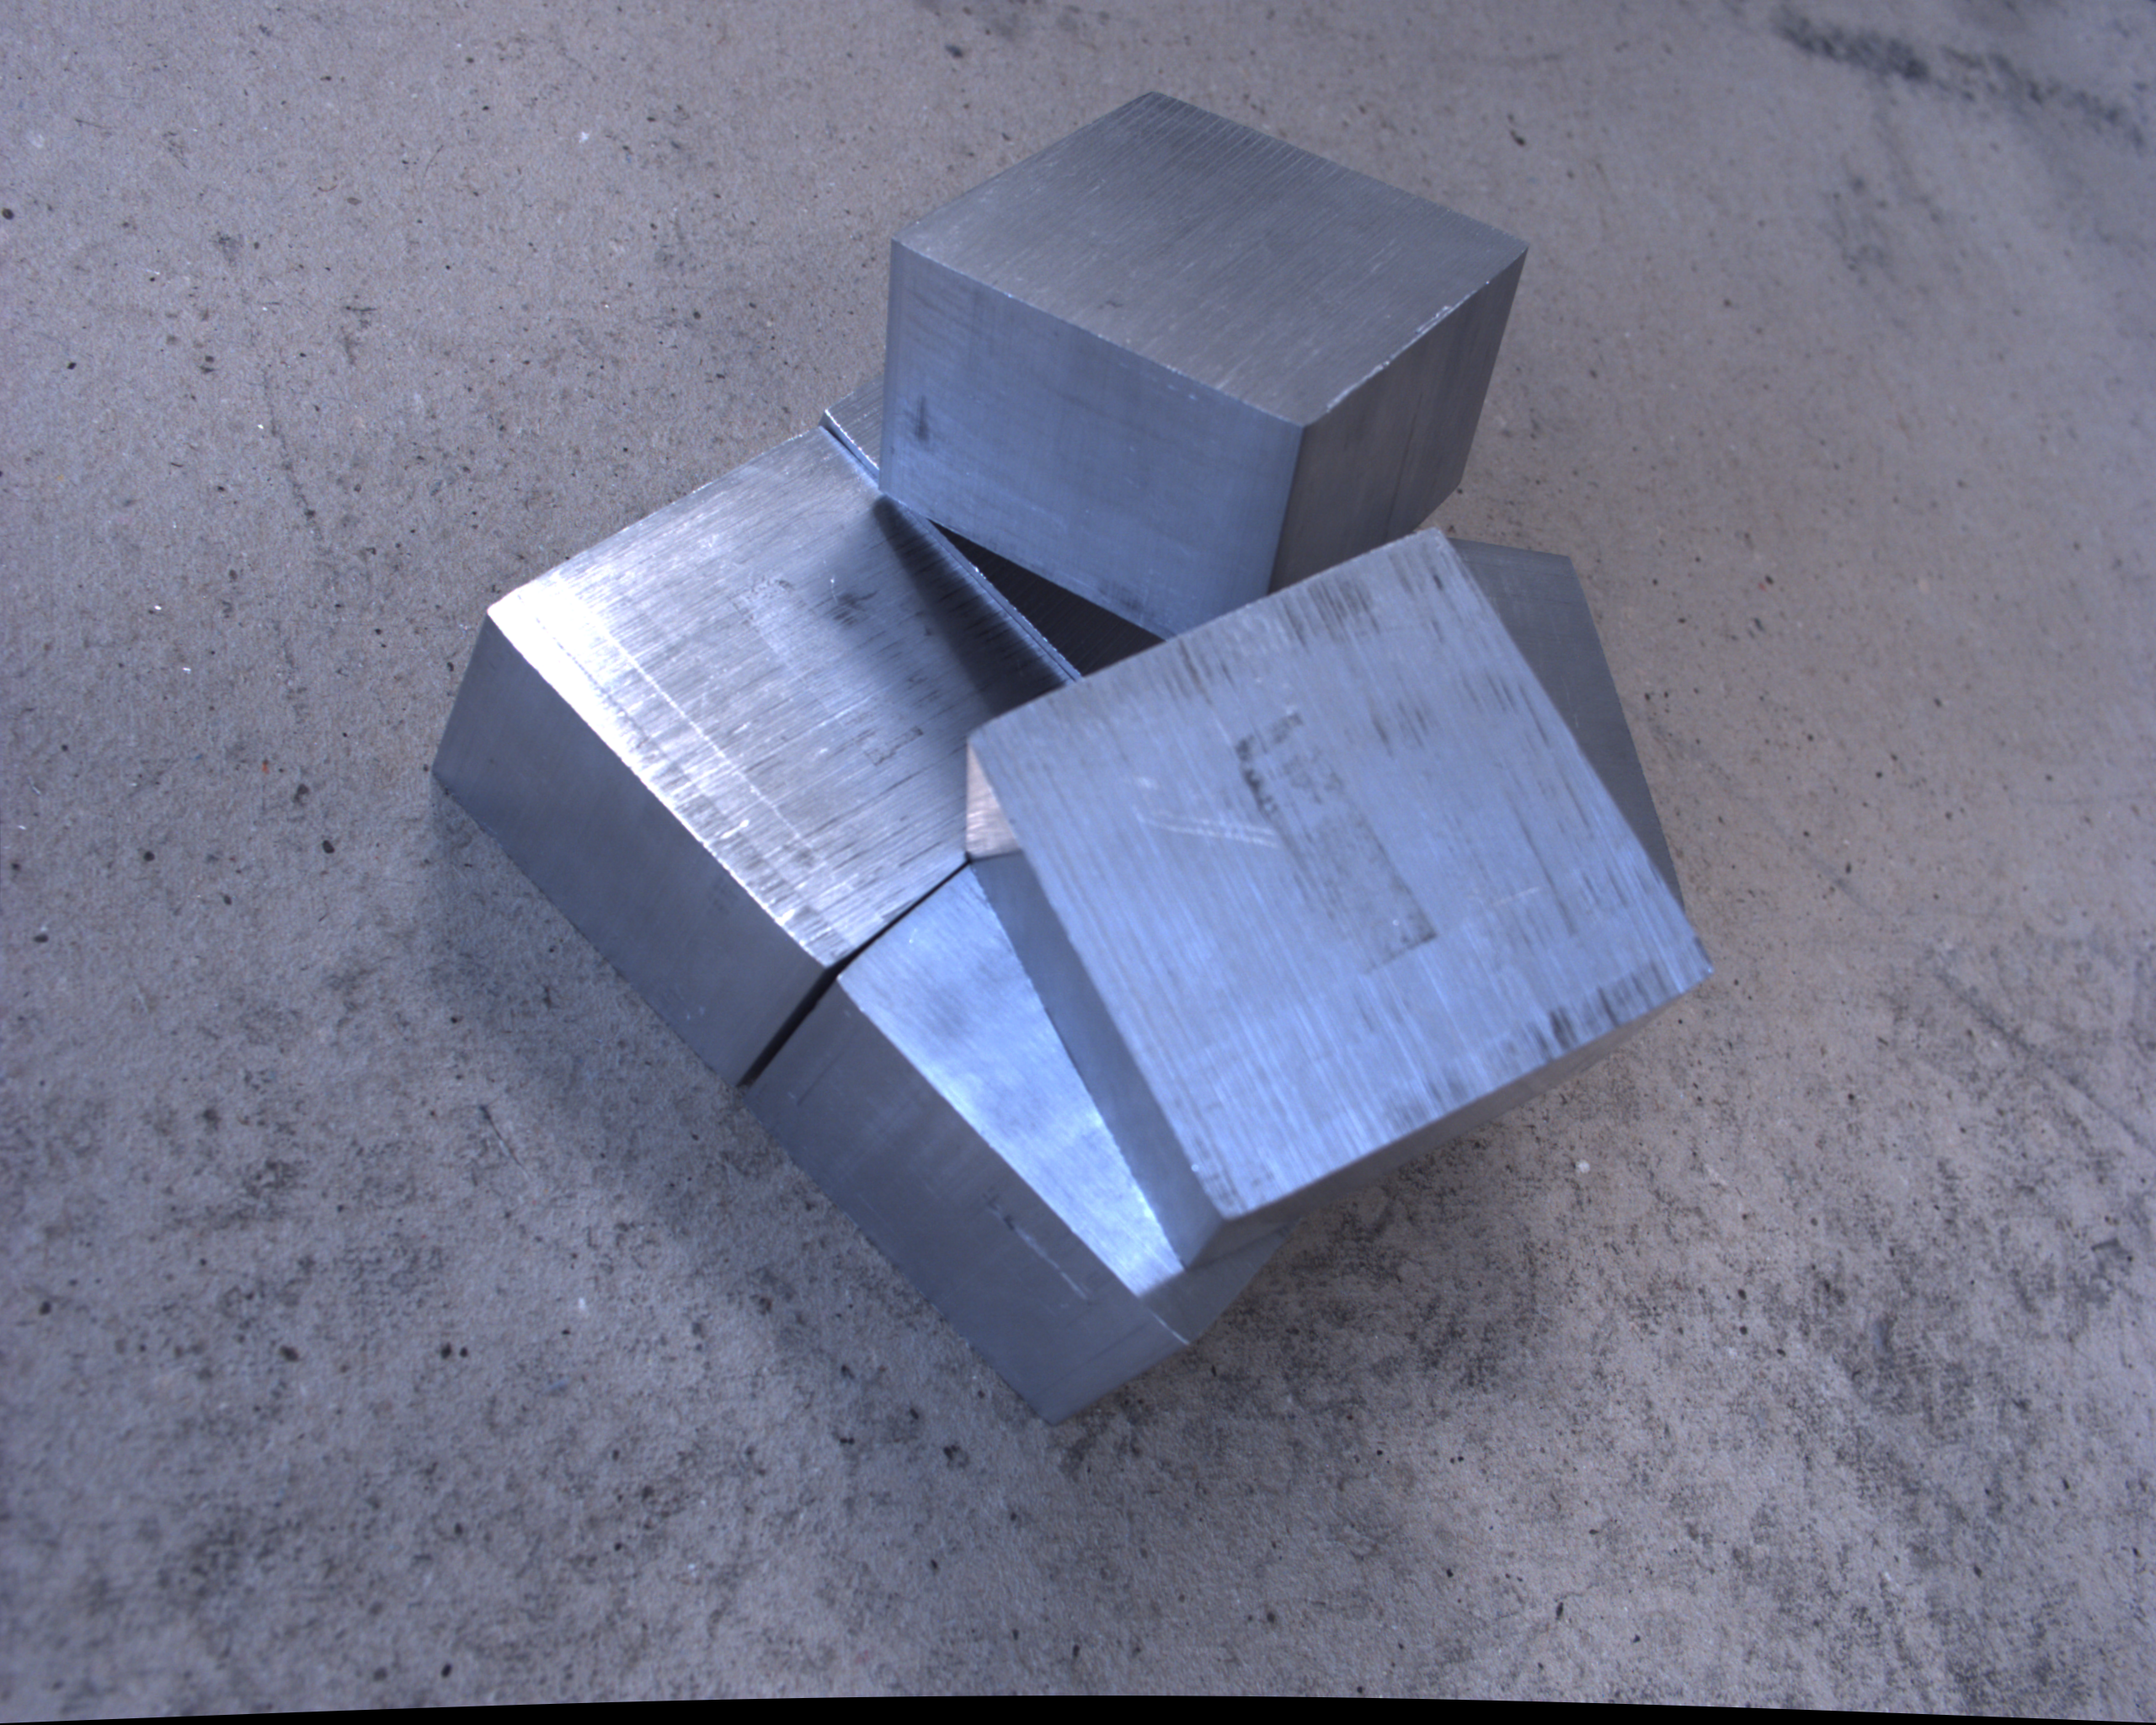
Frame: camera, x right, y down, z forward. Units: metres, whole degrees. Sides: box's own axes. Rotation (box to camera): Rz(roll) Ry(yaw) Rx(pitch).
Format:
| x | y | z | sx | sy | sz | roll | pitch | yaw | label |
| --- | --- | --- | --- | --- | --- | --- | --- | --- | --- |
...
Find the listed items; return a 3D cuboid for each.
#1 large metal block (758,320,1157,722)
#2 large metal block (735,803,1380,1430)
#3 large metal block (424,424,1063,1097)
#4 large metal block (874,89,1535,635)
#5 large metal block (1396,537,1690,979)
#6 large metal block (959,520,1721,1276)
| x | y | z | sx | sy | sz | roll | pitch | yaw | label |
| --- | --- | --- | --- | --- | --- | --- | --- | --- | --- |
| -0.006 | -0.063 | 0.422 | 0.080 | 0.050 | 0.080 | 46 | 50 | 4 | large metal block |
| 0.002 | 0.037 | 0.369 | 0.080 | 0.050 | 0.080 | 46 | 51 | 4 | large metal block |
| -0.054 | -0.020 | 0.373 | 0.080 | 0.050 | 0.080 | 46 | 51 | 3 | large metal block |
| 0.022 | -0.088 | 0.370 | 0.080 | 0.050 | 0.080 | 29 | 48 | 20 | large metal block |
| 0.063 | -0.008 | 0.409 | 0.050 | 0.080 | 0.080 | 3 | 61 | -26 | large metal block |
| 0.036 | 0.006 | 0.321 | 0.080 | 0.050 | 0.080 | -25 | 75 | -11 | large metal block |
